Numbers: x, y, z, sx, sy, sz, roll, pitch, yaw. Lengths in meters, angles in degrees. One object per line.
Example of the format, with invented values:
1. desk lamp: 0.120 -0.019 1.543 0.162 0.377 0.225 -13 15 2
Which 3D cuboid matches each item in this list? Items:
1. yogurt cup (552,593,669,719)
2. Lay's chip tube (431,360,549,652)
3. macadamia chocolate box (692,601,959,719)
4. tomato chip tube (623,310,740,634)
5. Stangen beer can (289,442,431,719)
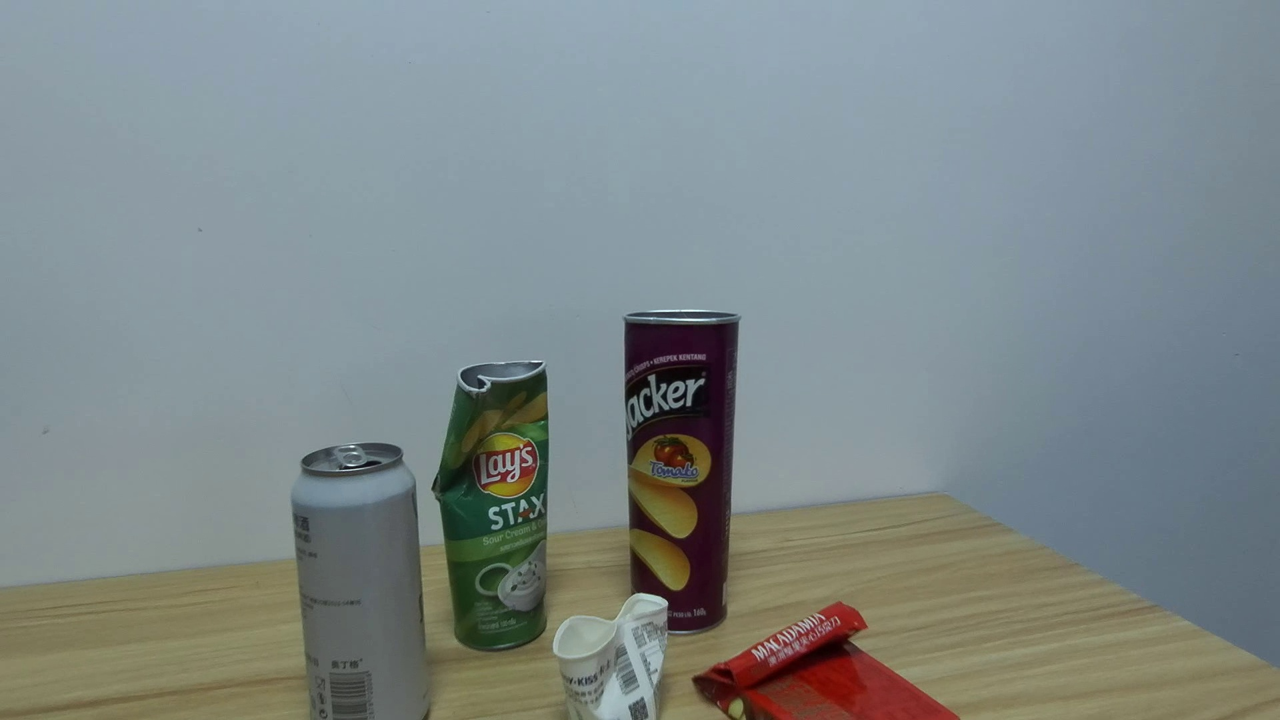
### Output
1. yogurt cup: -0.015 0.183 0.414 0.053 0.071 0.075 4 12 16
2. Lay's chip tube: -0.105 0.105 0.518 0.069 0.201 0.077 1 13 3
3. macadamia chocolate box: 0.107 0.203 0.423 0.112 0.056 0.126 -19 18 -16
4. tomato chip tube: 0.031 0.082 0.535 0.080 0.234 0.077 9 13 42
5. Stangen beer can: -0.161 0.137 0.412 0.067 0.171 0.067 -1 9 1
